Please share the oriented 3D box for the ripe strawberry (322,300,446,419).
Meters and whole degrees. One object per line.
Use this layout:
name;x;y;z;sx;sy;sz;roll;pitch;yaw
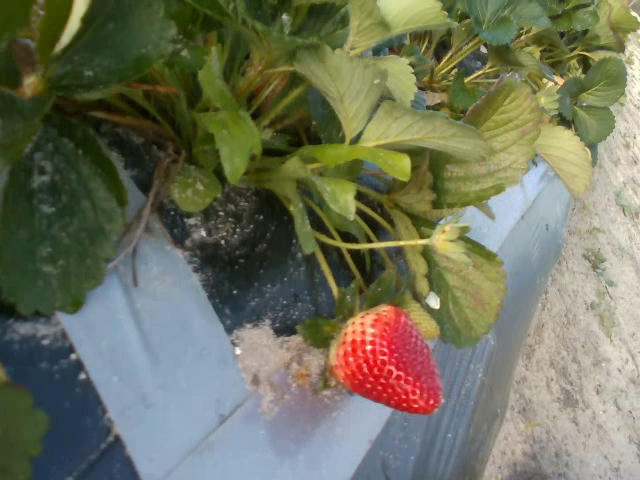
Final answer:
ripe strawberry;0.016;0.023;0.118;0.023;0.021;0.026;-17;51;-33
